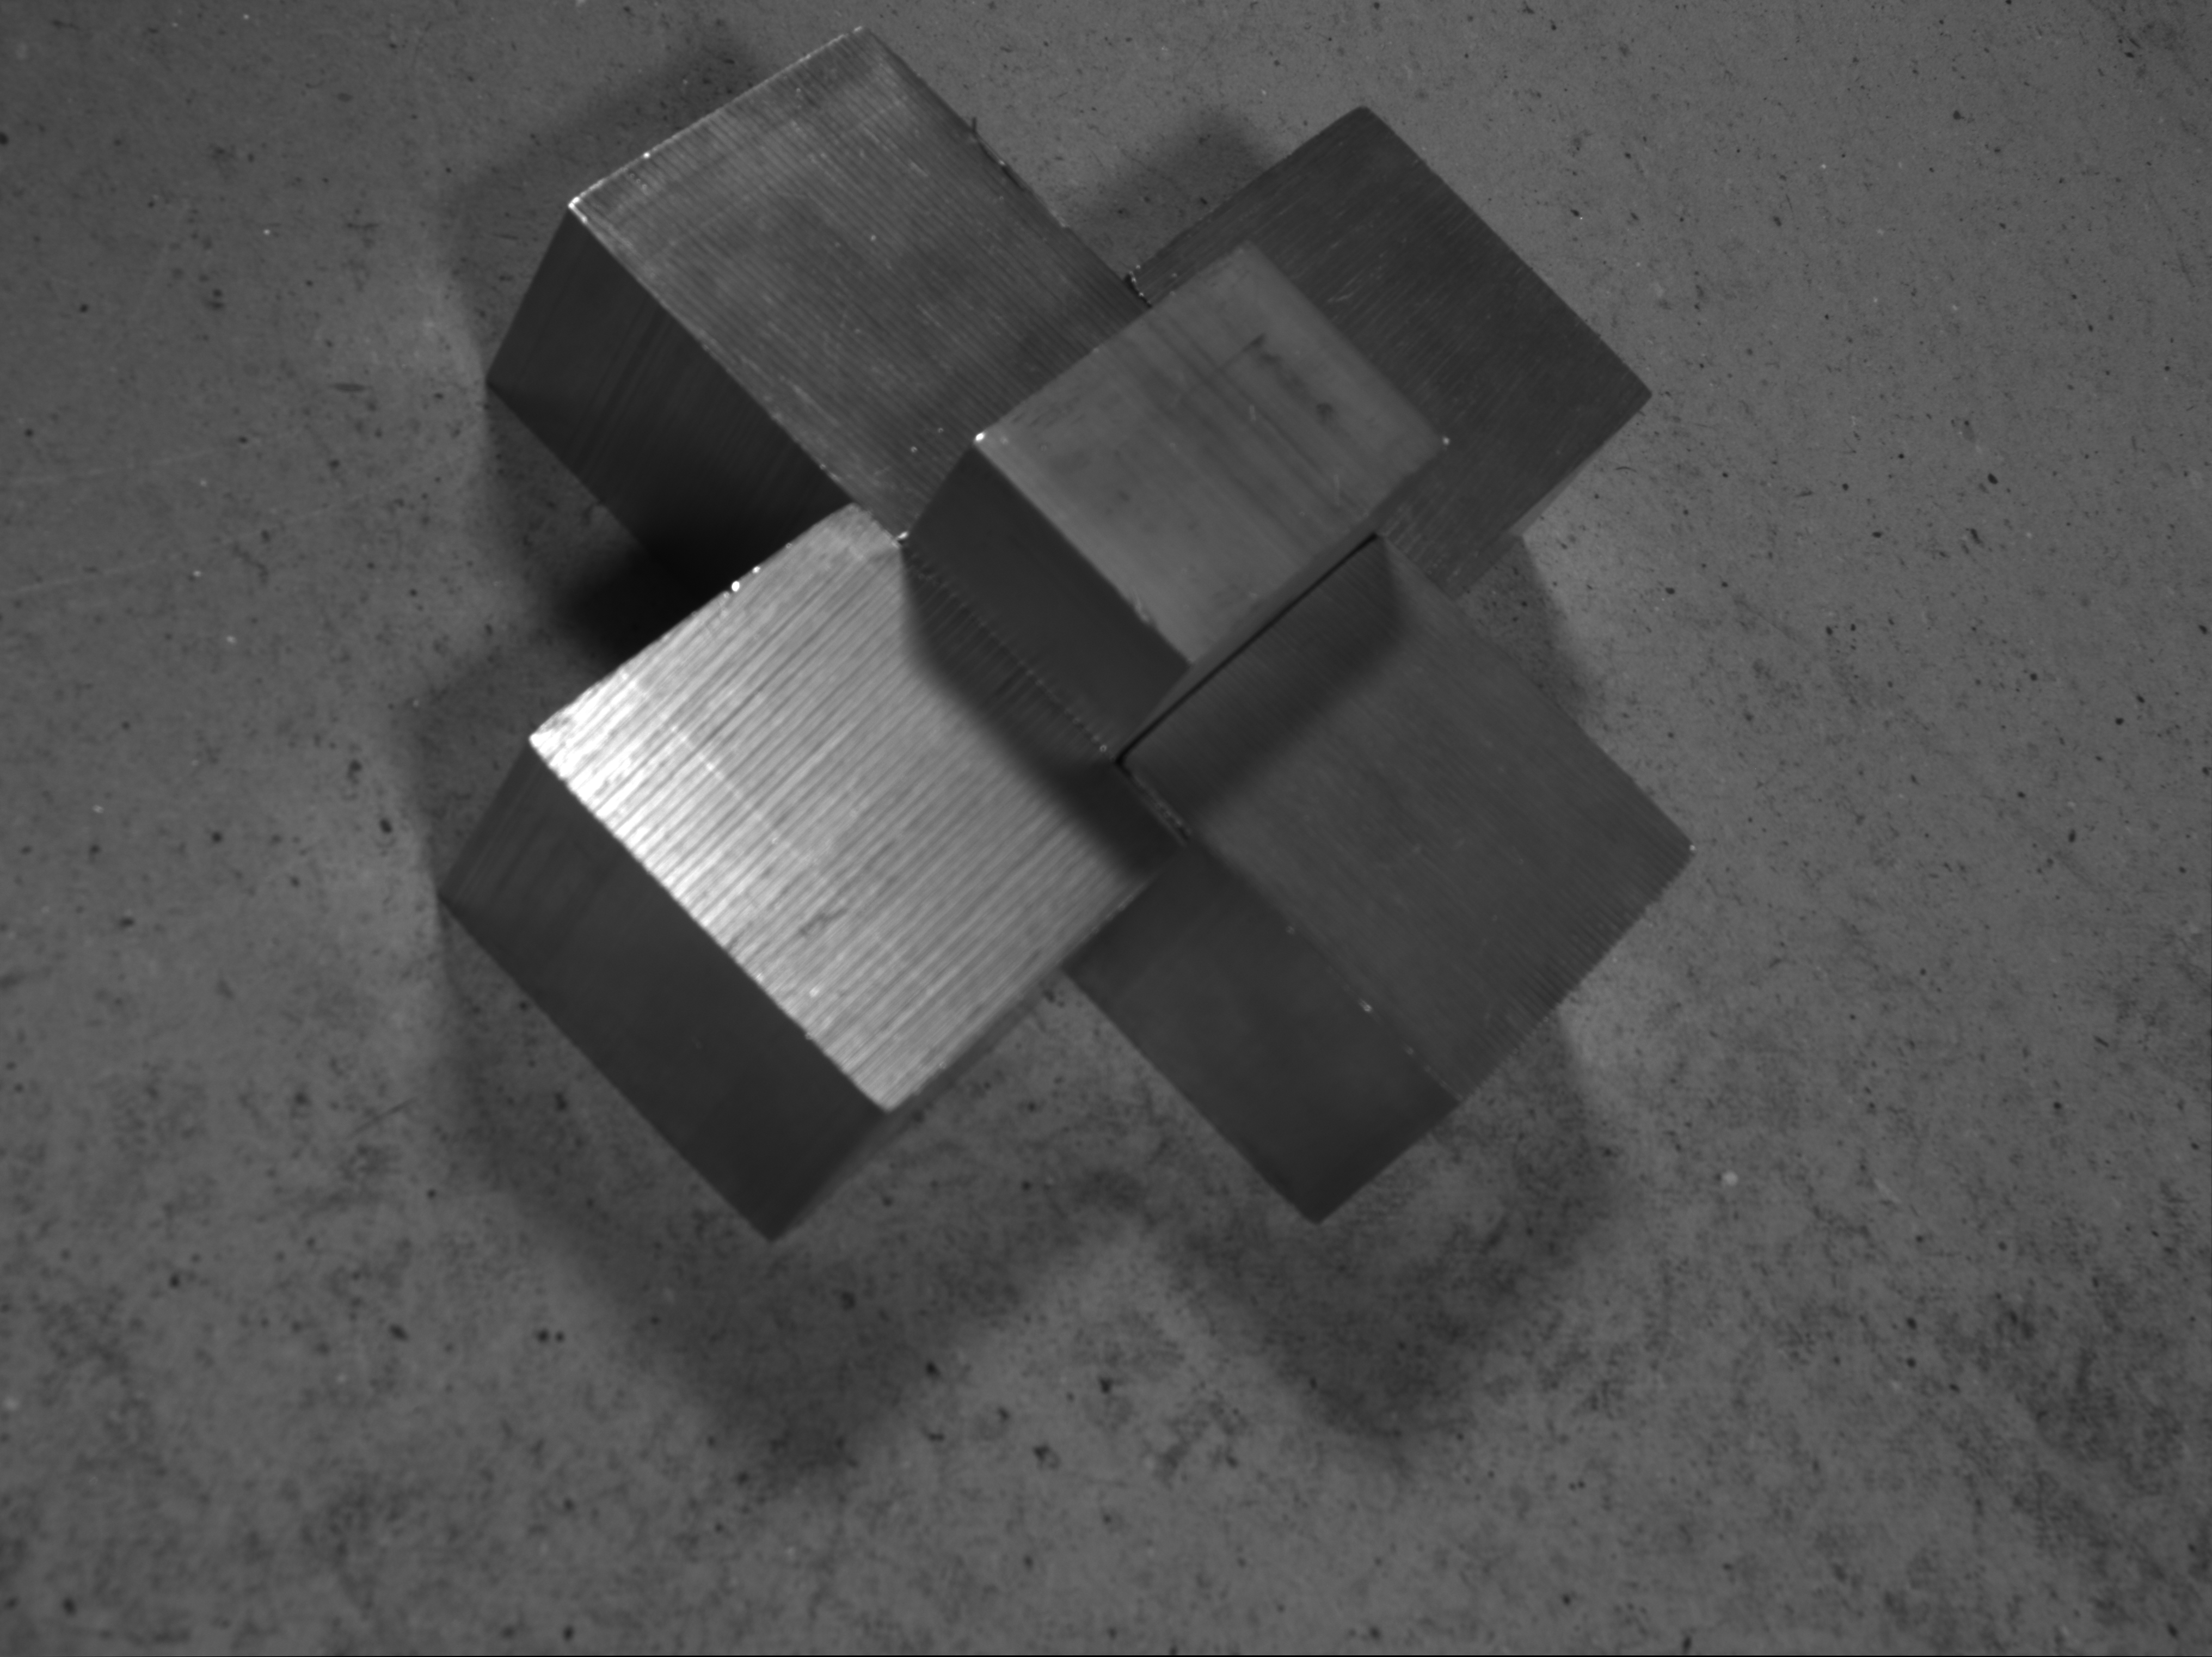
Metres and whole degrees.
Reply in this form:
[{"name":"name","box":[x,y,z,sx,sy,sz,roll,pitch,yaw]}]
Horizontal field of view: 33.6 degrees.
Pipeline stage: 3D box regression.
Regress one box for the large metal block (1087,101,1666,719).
[{"name":"large metal block","box":[0.045,-0.079,0.695,0.080,0.050,0.080,45,51,3]}]

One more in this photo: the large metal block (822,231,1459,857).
[{"name":"large metal block","box":[0.003,-0.045,0.634,0.050,0.080,0.080,45,51,3]}]

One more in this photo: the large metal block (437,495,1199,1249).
[{"name":"large metal block","box":[-0.046,0.006,0.594,0.080,0.050,0.080,45,51,3]}]

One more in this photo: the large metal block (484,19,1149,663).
[{"name":"large metal block","box":[-0.048,-0.084,0.649,0.080,0.050,0.080,45,51,3]}]

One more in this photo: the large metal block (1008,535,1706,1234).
[{"name":"large metal block","box":[0.044,0.009,0.641,0.080,0.050,0.080,45,51,3]}]
